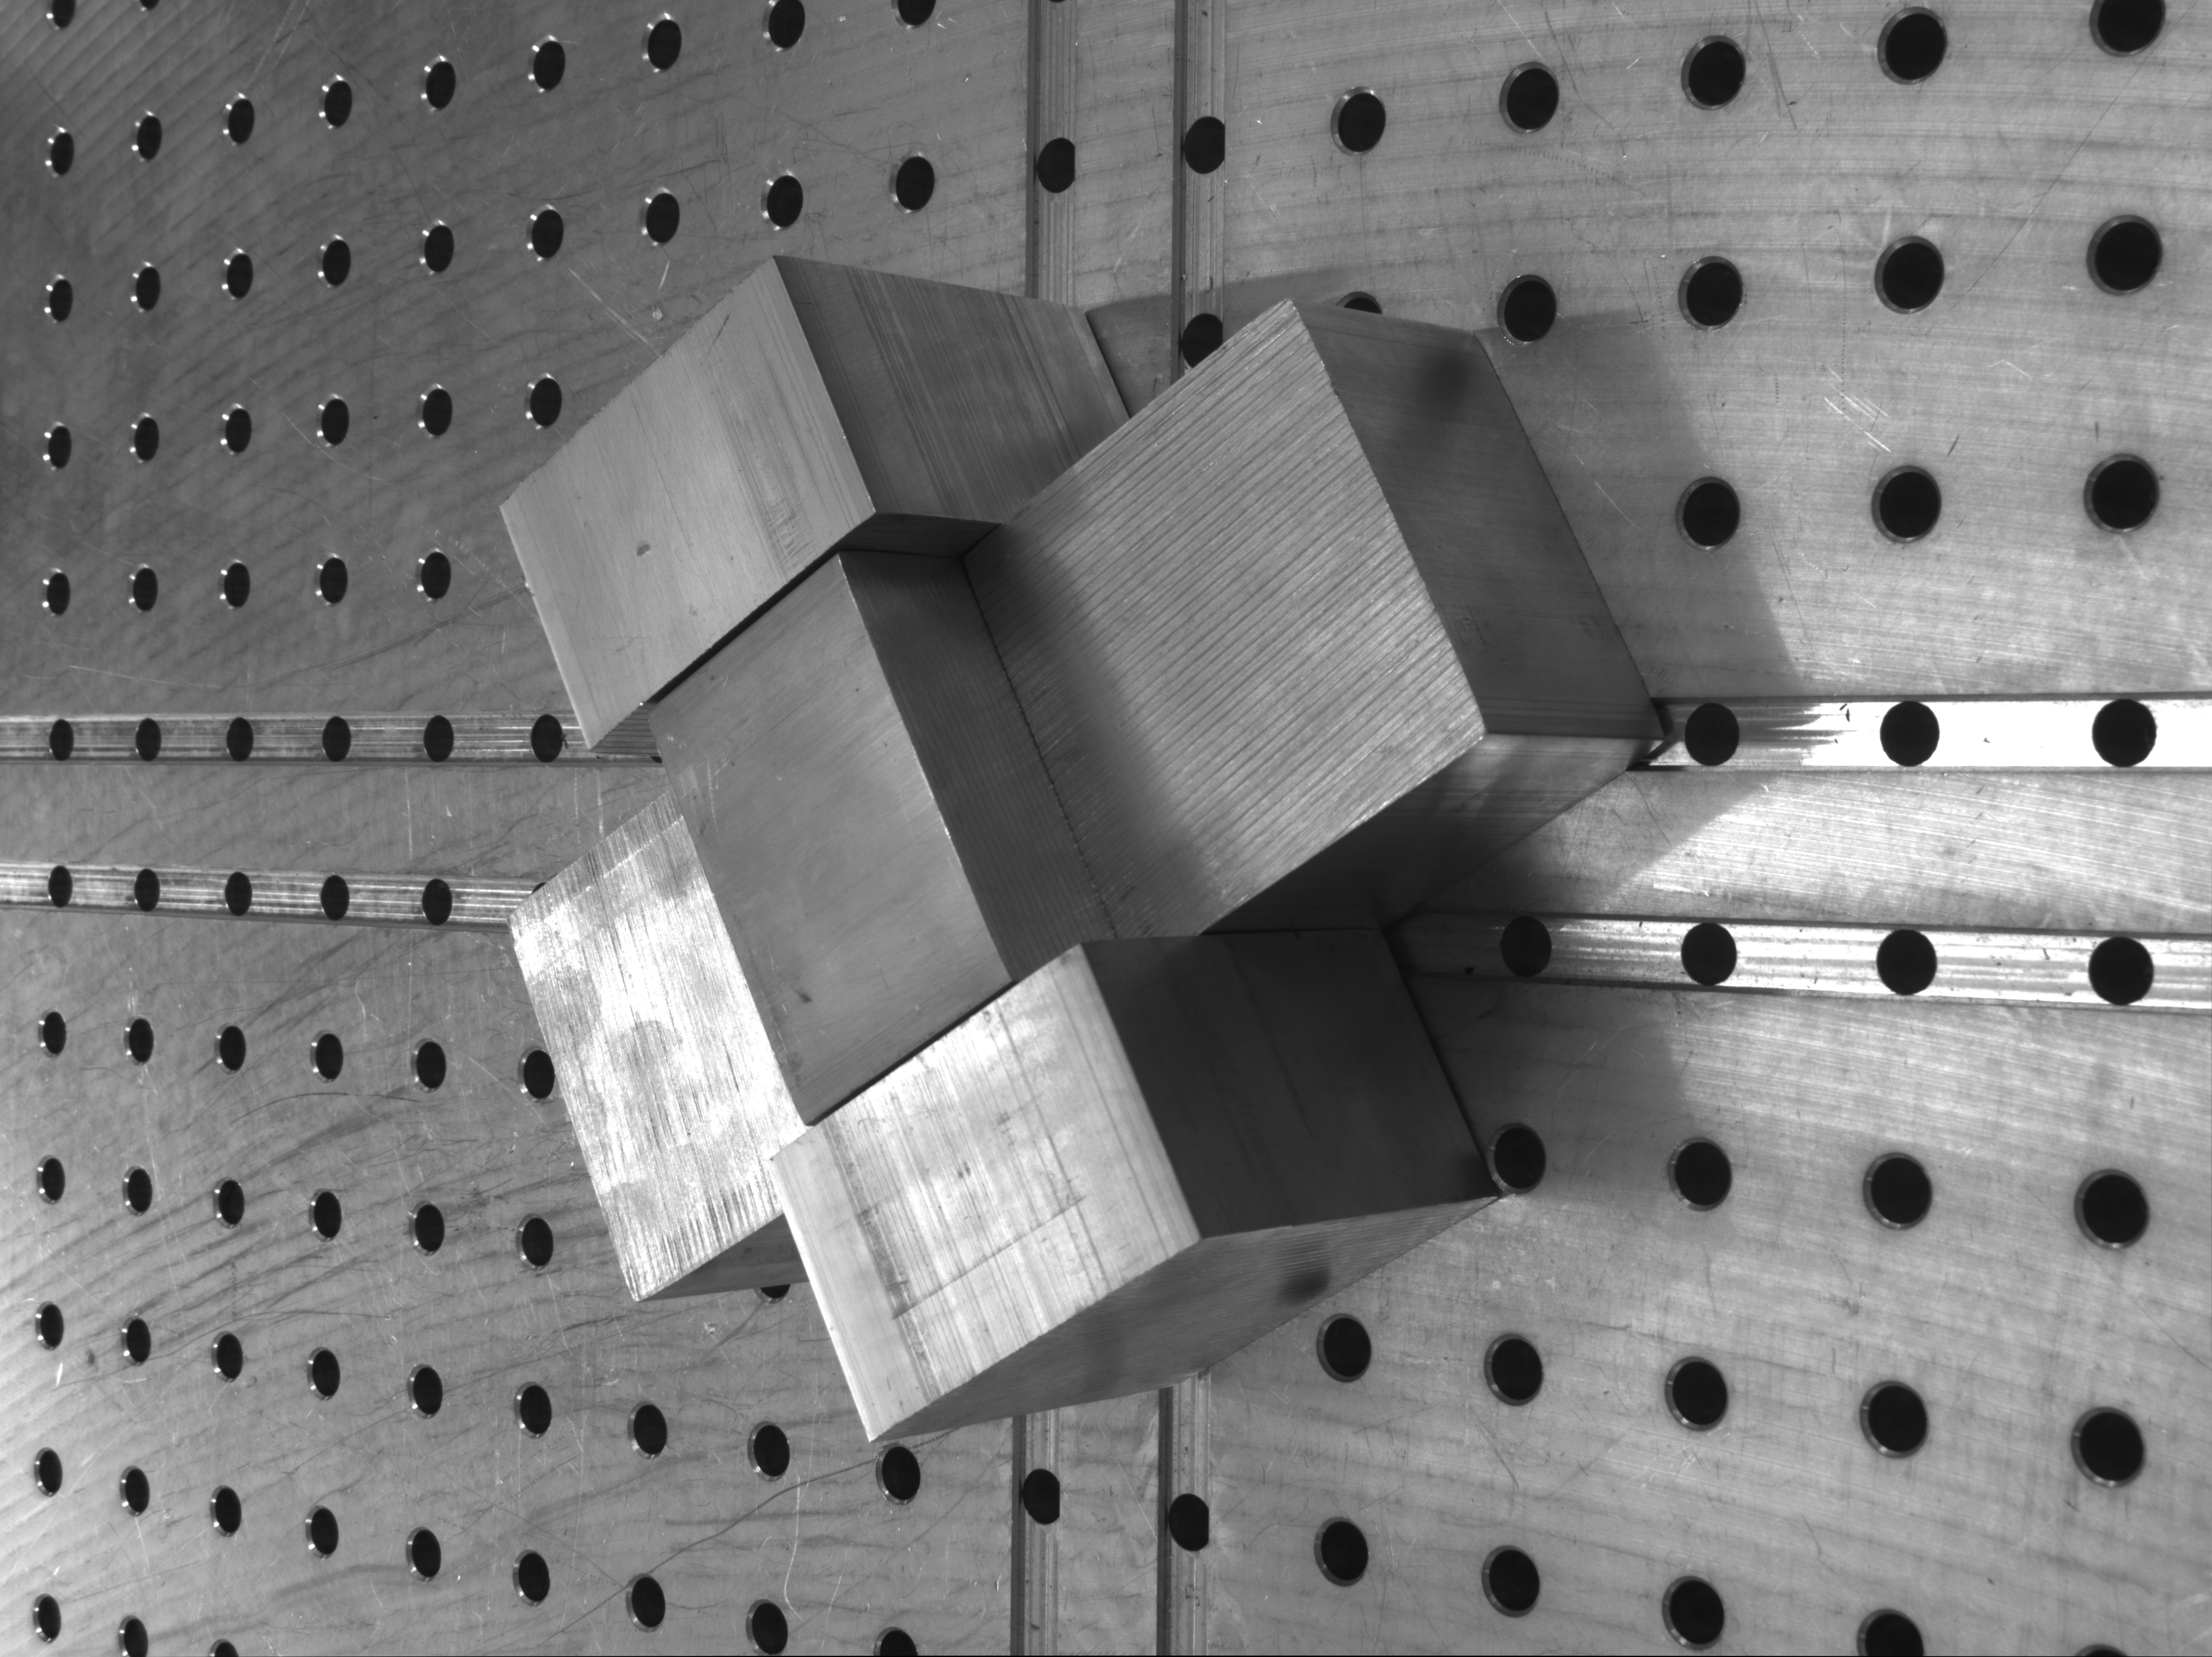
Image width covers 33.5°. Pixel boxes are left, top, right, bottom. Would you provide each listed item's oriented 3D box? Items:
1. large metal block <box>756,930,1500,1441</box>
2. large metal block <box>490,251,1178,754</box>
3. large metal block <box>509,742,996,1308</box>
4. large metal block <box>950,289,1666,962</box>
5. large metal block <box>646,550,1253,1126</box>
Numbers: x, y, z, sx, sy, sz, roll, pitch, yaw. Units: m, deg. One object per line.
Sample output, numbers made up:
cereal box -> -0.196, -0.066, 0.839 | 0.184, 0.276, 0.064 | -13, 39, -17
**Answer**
large metal block -> 0.004, 0.058, 0.610 | 0.080, 0.080, 0.050 | -35, 68, 34
large metal block -> -0.048, -0.054, 0.652 | 0.080, 0.080, 0.050 | -35, 67, 35
large metal block -> -0.056, 0.034, 0.681 | 0.080, 0.050, 0.080 | -33, 69, 35
large metal block -> 0.032, -0.031, 0.605 | 0.080, 0.050, 0.080 | -36, 70, 34
large metal block -> -0.021, 0.002, 0.631 | 0.050, 0.080, 0.080 | -36, 68, 34
